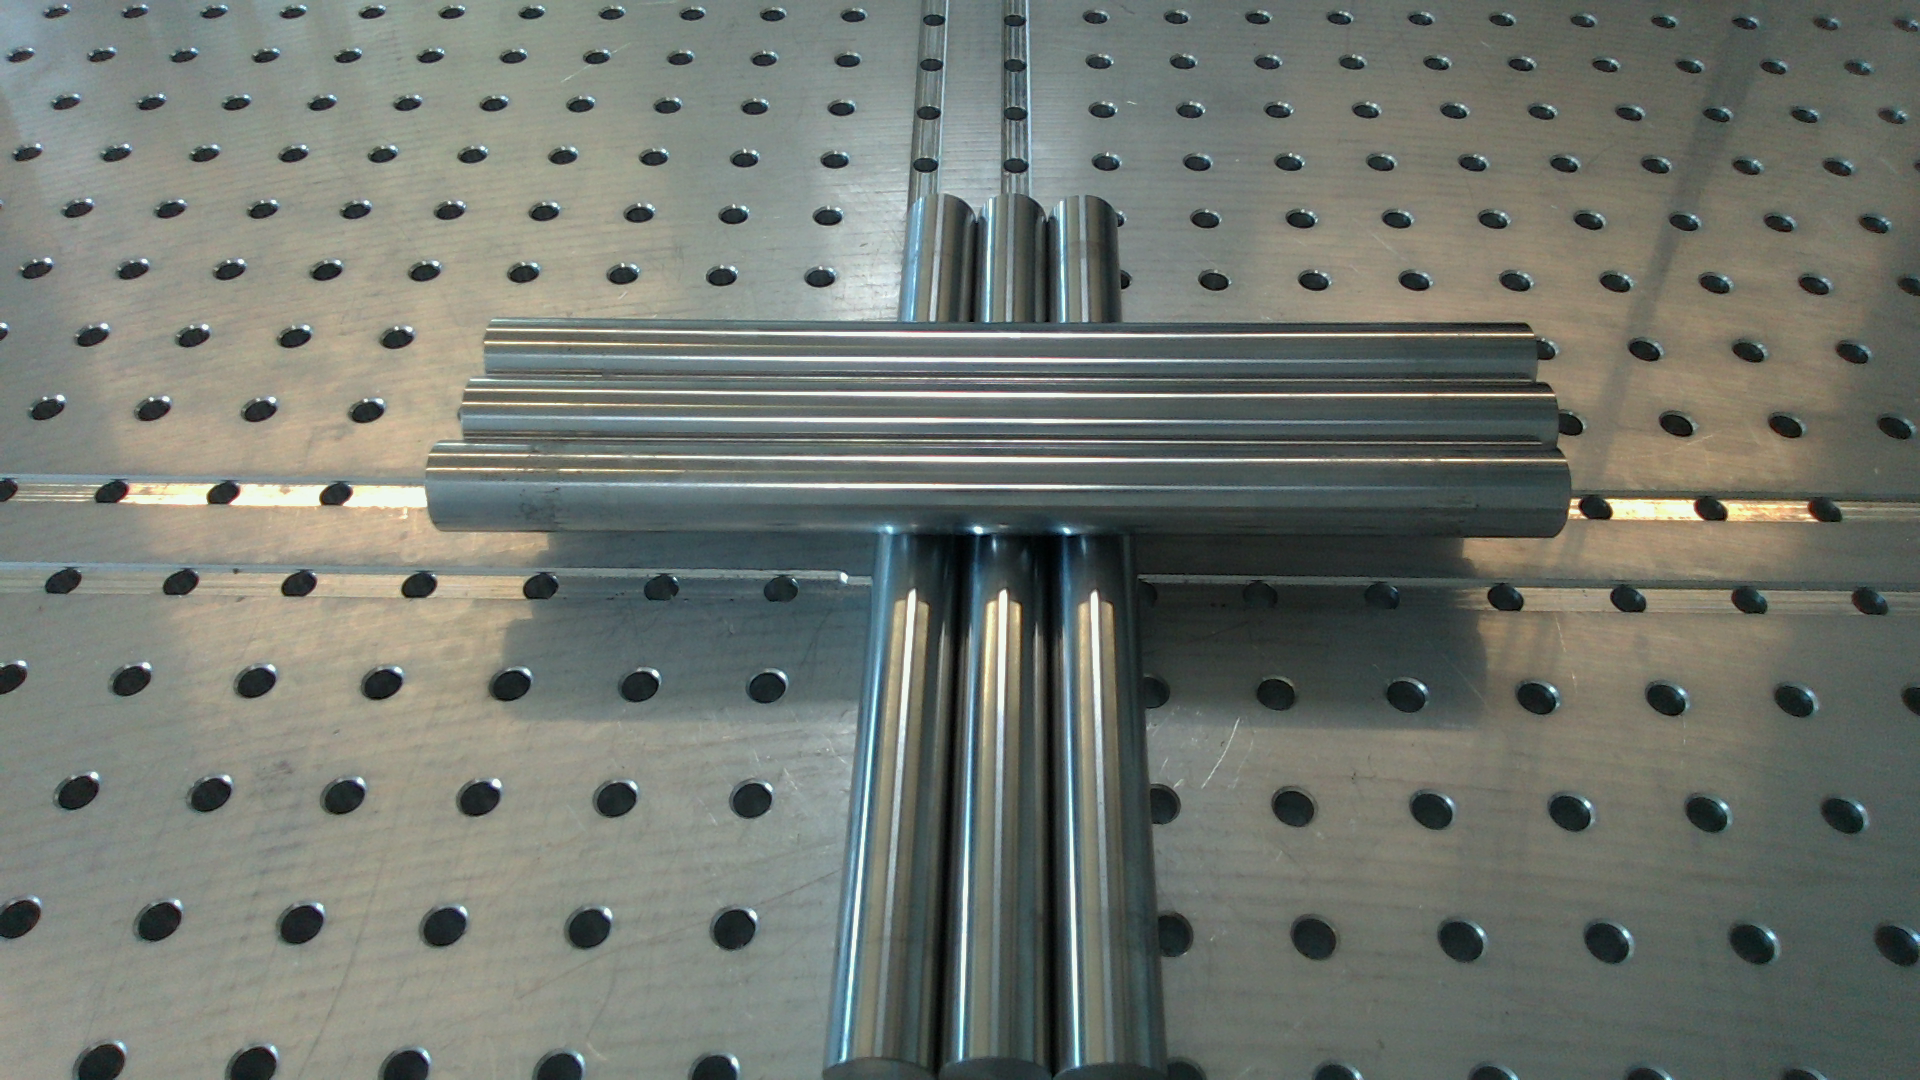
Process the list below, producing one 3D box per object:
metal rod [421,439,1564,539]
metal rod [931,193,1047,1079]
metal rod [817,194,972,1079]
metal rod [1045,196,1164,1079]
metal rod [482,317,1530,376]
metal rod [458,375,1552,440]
[{"bbox_3d":[0.008,-0.014,0.373,0.300,0.025,0.025,0,50,0],"label":"metal rod"},{"bbox_3d":[0.012,0.002,0.393,0.025,0.025,0.300,2,50,1],"label":"metal rod"},{"bbox_3d":[-0.013,0.002,0.393,0.025,0.025,0.300,2,50,1],"label":"metal rod"},{"bbox_3d":[0.037,0.003,0.393,0.025,0.025,0.300,2,50,1],"label":"metal rod"},{"bbox_3d":[0.013,-0.052,0.406,0.300,0.025,0.025,0,50,0],"label":"metal rod"},{"bbox_3d":[0.012,-0.033,0.390,0.300,0.025,0.025,0,50,0],"label":"metal rod"}]
